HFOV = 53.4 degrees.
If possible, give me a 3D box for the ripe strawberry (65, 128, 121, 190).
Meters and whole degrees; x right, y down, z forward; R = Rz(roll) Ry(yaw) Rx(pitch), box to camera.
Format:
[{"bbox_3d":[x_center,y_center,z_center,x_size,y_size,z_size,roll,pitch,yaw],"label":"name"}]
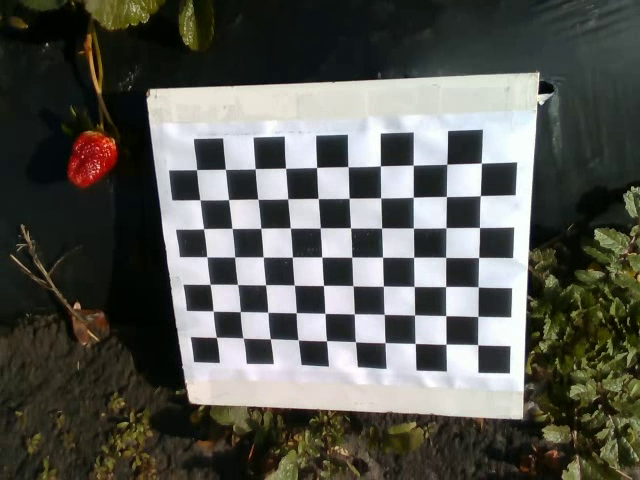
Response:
[{"bbox_3d":[-0.066,-0.023,0.183,0.015,0.023,0.015,7,-33,8],"label":"ripe strawberry"}]
